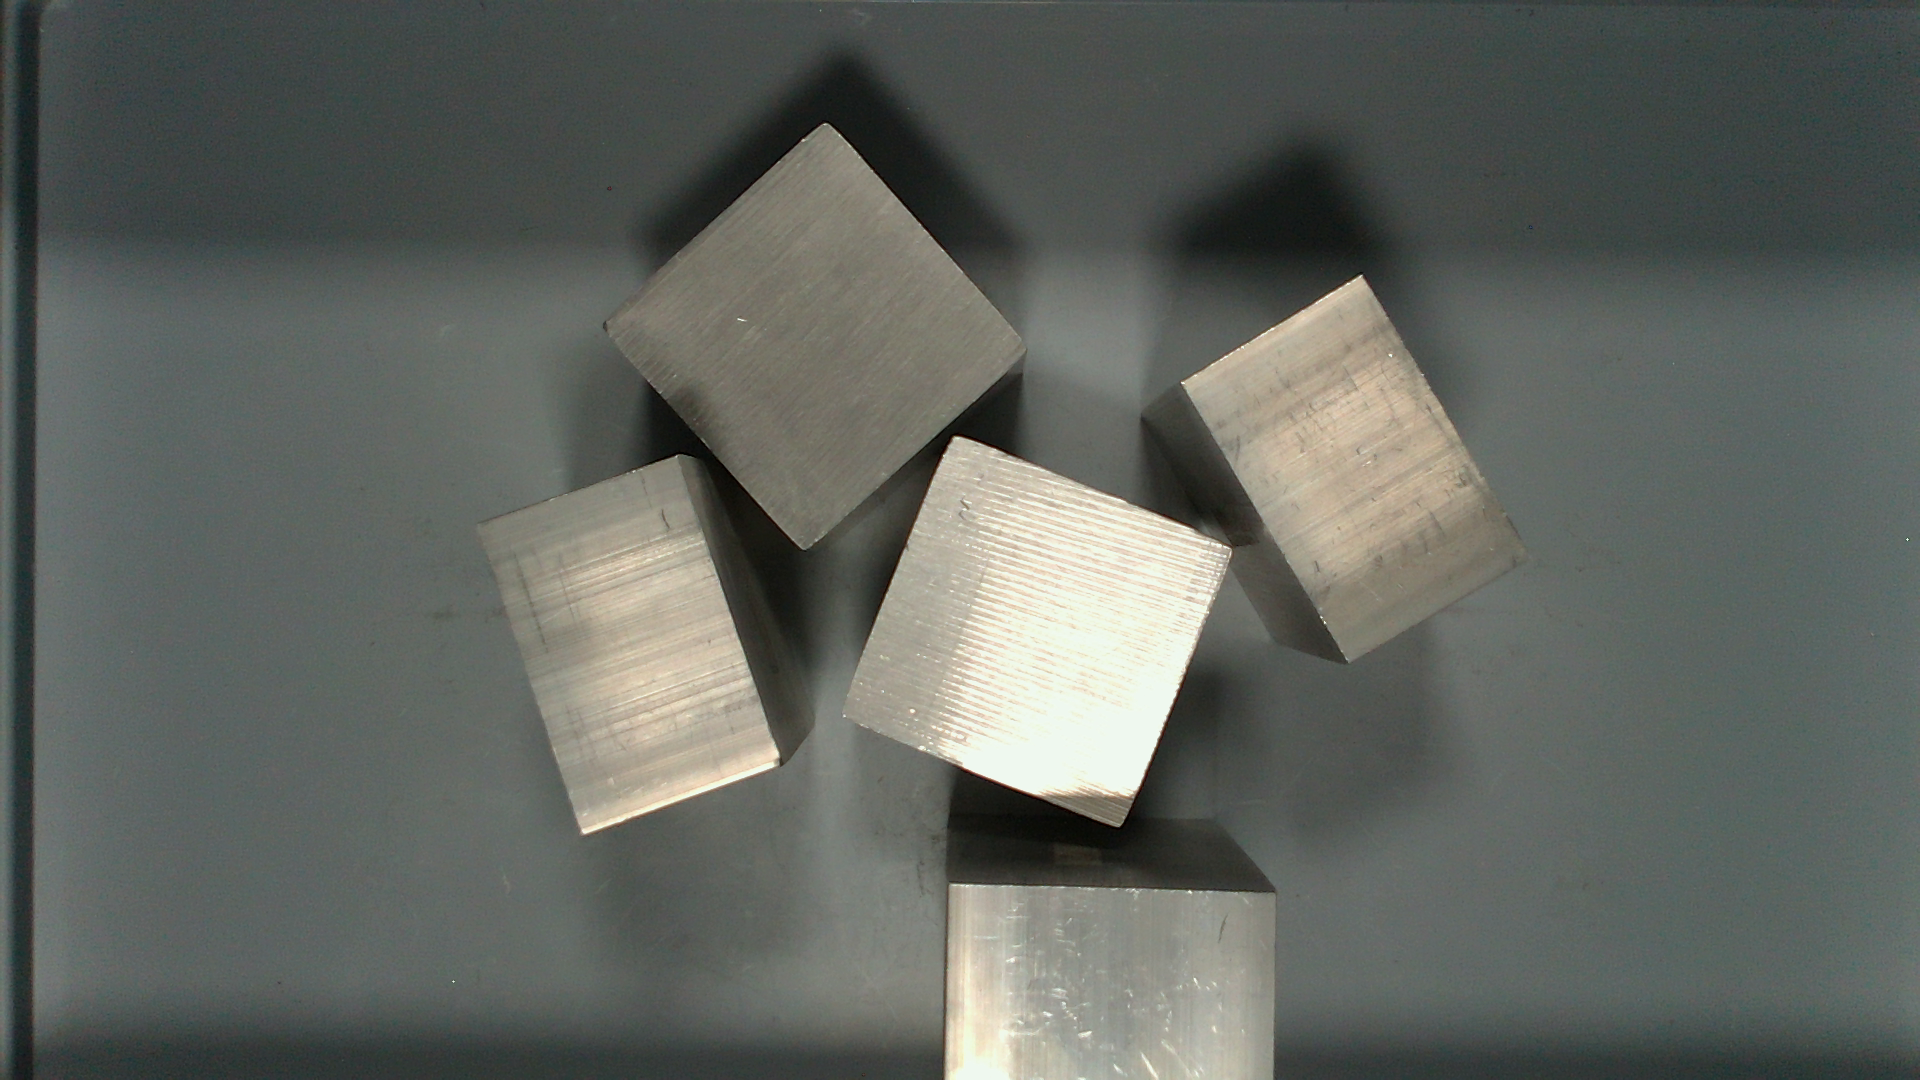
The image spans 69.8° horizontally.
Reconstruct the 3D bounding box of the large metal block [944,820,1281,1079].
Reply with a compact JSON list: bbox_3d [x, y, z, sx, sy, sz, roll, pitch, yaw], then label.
[{"bbox_3d":[0.037,0.108,0.368,0.080,0.080,0.050,1,90,0],"label":"large metal block"}]

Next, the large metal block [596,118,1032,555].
[{"bbox_3d":[-0.038,-0.053,0.381,0.080,0.050,0.080,-42,90,0],"label":"large metal block"}]

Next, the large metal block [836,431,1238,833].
[{"bbox_3d":[0.020,0.024,0.382,0.080,0.050,0.080,22,90,0],"label":"large metal block"}]

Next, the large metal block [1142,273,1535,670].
[{"bbox_3d":[0.095,-0.016,0.367,0.050,0.080,0.080,-31,90,0],"label":"large metal block"}]

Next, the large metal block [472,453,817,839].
[{"bbox_3d":[-0.079,0.025,0.367,0.050,0.080,0.080,-19,90,0],"label":"large metal block"}]
